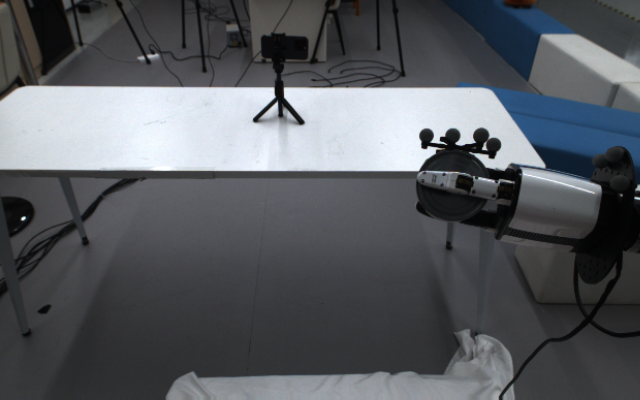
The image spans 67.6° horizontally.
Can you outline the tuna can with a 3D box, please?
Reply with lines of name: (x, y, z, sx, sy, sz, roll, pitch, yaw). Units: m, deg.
tuna can: (0.160, -0.020, 0.584, 0.085, 0.085, 0.034, 10, -7, 12)
